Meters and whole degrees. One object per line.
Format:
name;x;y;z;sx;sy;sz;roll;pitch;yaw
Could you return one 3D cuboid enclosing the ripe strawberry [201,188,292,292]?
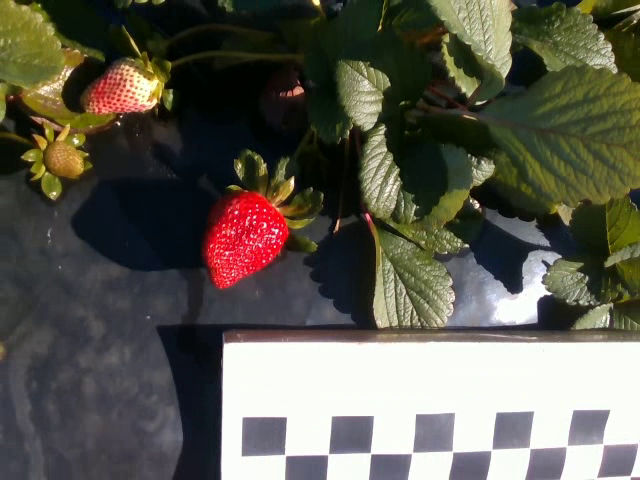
ripe strawberry;-0.043;0.001;0.301;0.058;0.066;0.062;-34;22;29
